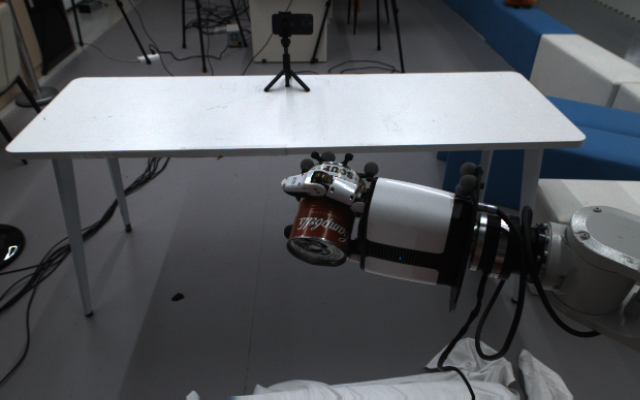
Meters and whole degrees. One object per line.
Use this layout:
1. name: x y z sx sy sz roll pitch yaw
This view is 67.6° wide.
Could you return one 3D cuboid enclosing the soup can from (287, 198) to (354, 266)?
1. soup can: 0.009 0.015 0.548 0.067 0.067 0.101 9 58 10
